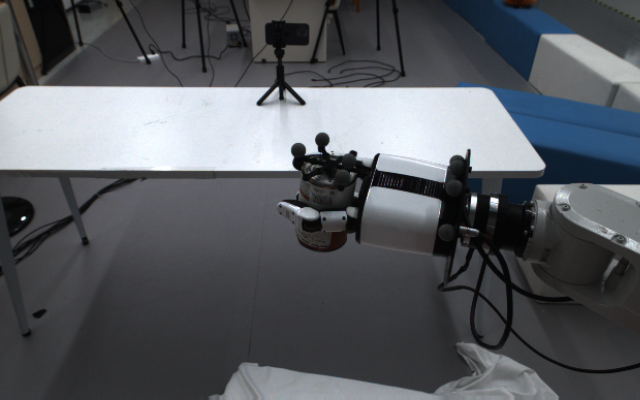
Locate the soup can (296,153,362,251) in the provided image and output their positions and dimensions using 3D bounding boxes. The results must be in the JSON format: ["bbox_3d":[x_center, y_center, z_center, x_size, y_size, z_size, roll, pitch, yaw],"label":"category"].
[{"bbox_3d":[0.008,0.004,0.593,0.067,0.101,0.067,5,36,-4],"label":"soup can"}]
